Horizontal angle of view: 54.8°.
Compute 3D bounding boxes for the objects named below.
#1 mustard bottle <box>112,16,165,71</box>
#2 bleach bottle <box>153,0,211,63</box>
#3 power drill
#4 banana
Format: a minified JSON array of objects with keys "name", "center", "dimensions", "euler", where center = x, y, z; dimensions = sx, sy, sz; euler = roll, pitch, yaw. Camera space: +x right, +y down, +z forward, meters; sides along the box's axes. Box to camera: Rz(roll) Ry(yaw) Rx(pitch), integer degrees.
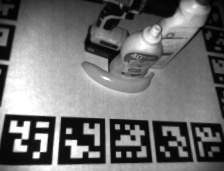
[{"name":"mustard bottle","center":[0.068,-0.096,0.505],"dimensions":[0.097,0.191,0.058],"euler":[8,68,-14]},{"name":"bleach bottle","center":[0.144,-0.149,0.522],"dimensions":[0.103,0.250,0.067],"euler":[10,62,-12]},{"name":"power drill","center":[0.037,-0.174,0.503],"dimensions":[0.185,0.186,0.057],"euler":[19,64,-10]},{"name":"banana","center":[0.025,-0.041,0.566],"dimensions":[0.198,0.039,0.074],"euler":[12,68,-10]}]
